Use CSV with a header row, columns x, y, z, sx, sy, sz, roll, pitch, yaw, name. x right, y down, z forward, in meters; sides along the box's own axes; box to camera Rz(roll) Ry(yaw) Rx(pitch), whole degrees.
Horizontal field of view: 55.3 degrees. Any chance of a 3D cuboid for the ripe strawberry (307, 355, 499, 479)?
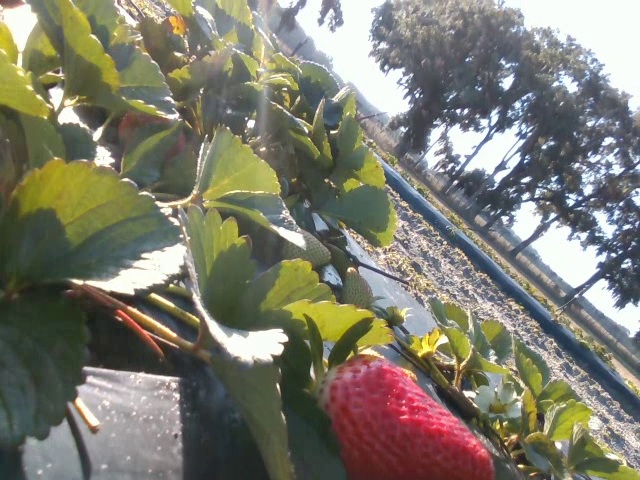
x,y,z,sx,sy,sz,roll,pitch,yaw,name
0.030,0.066,0.205,0.072,0.055,0.057,24,52,18,ripe strawberry
